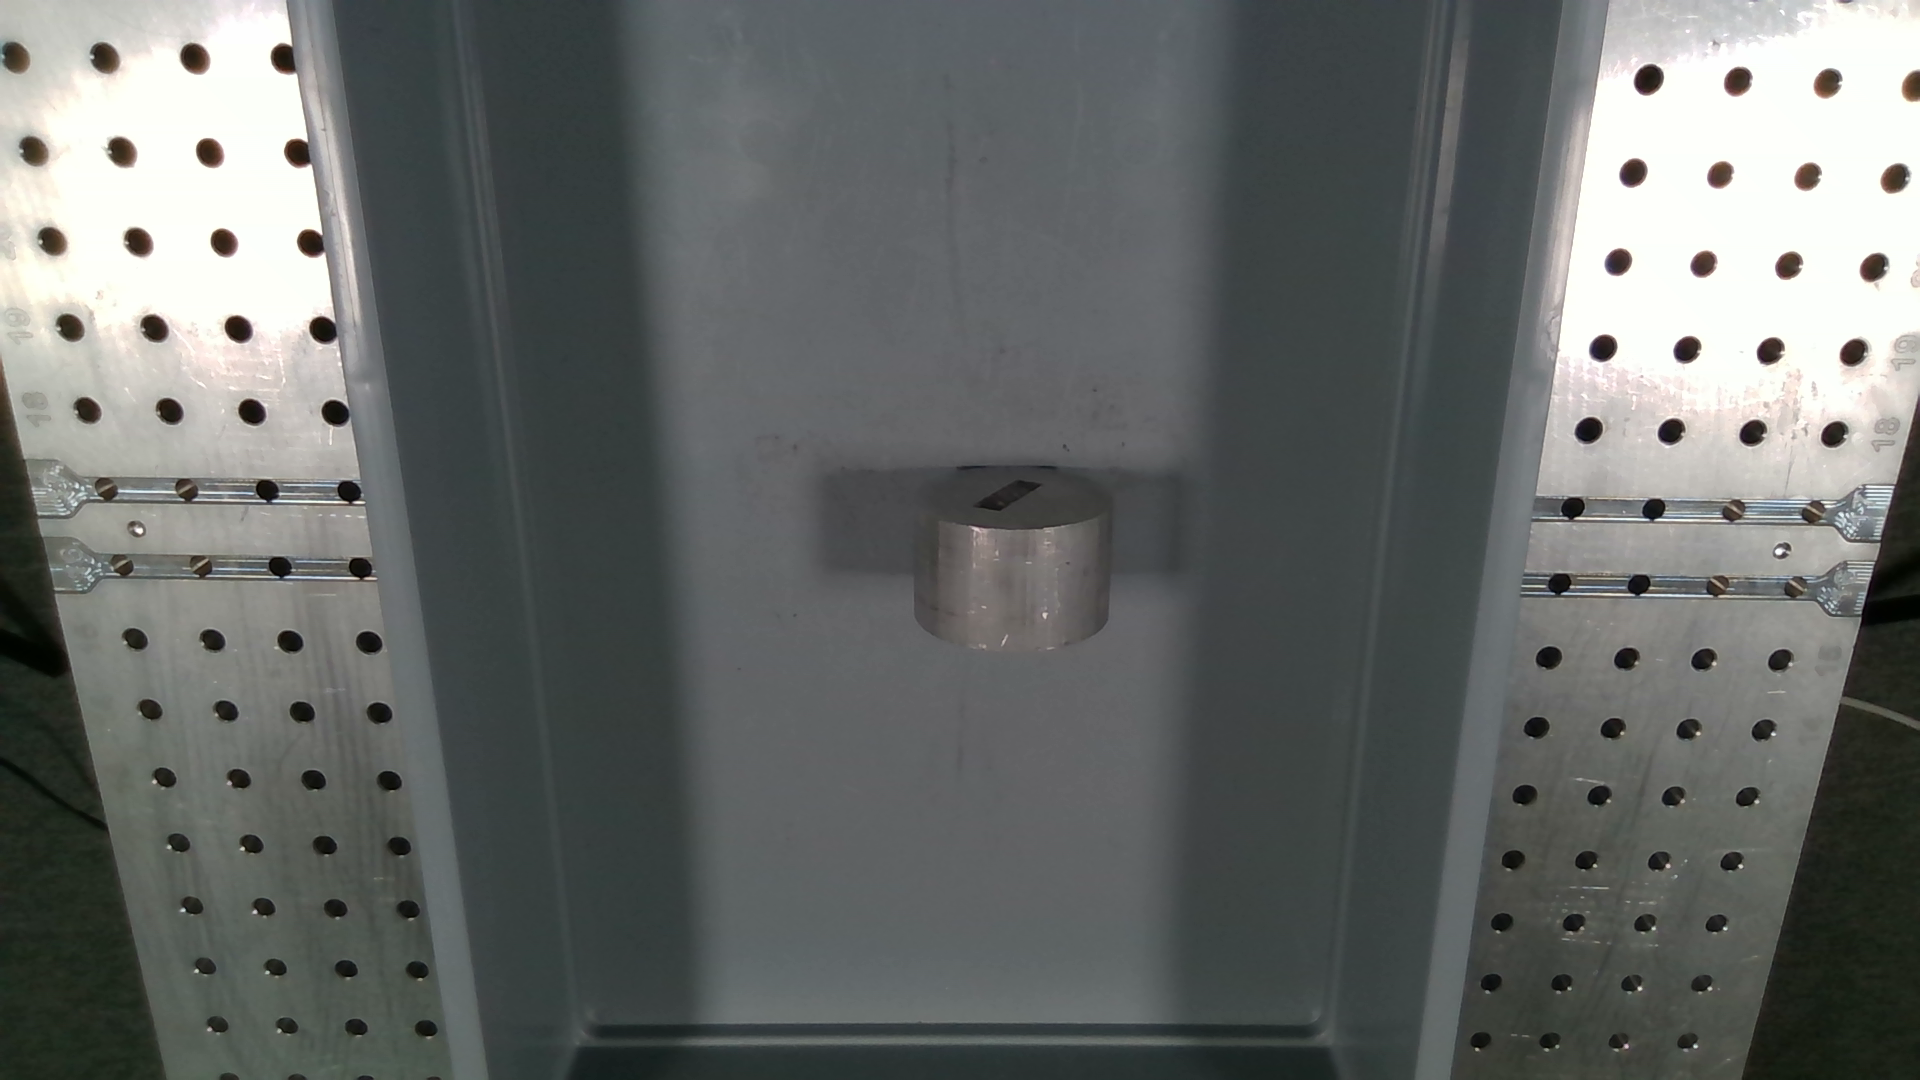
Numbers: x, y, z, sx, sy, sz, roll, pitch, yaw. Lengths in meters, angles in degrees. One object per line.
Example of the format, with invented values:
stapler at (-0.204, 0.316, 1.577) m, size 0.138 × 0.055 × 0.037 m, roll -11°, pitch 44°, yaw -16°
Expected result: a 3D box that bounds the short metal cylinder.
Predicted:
short metal cylinder at (0.021, 0.006, 0.555) m, size 0.080 × 0.080 × 0.050 m, roll 0°, pitch 110°, yaw 0°
